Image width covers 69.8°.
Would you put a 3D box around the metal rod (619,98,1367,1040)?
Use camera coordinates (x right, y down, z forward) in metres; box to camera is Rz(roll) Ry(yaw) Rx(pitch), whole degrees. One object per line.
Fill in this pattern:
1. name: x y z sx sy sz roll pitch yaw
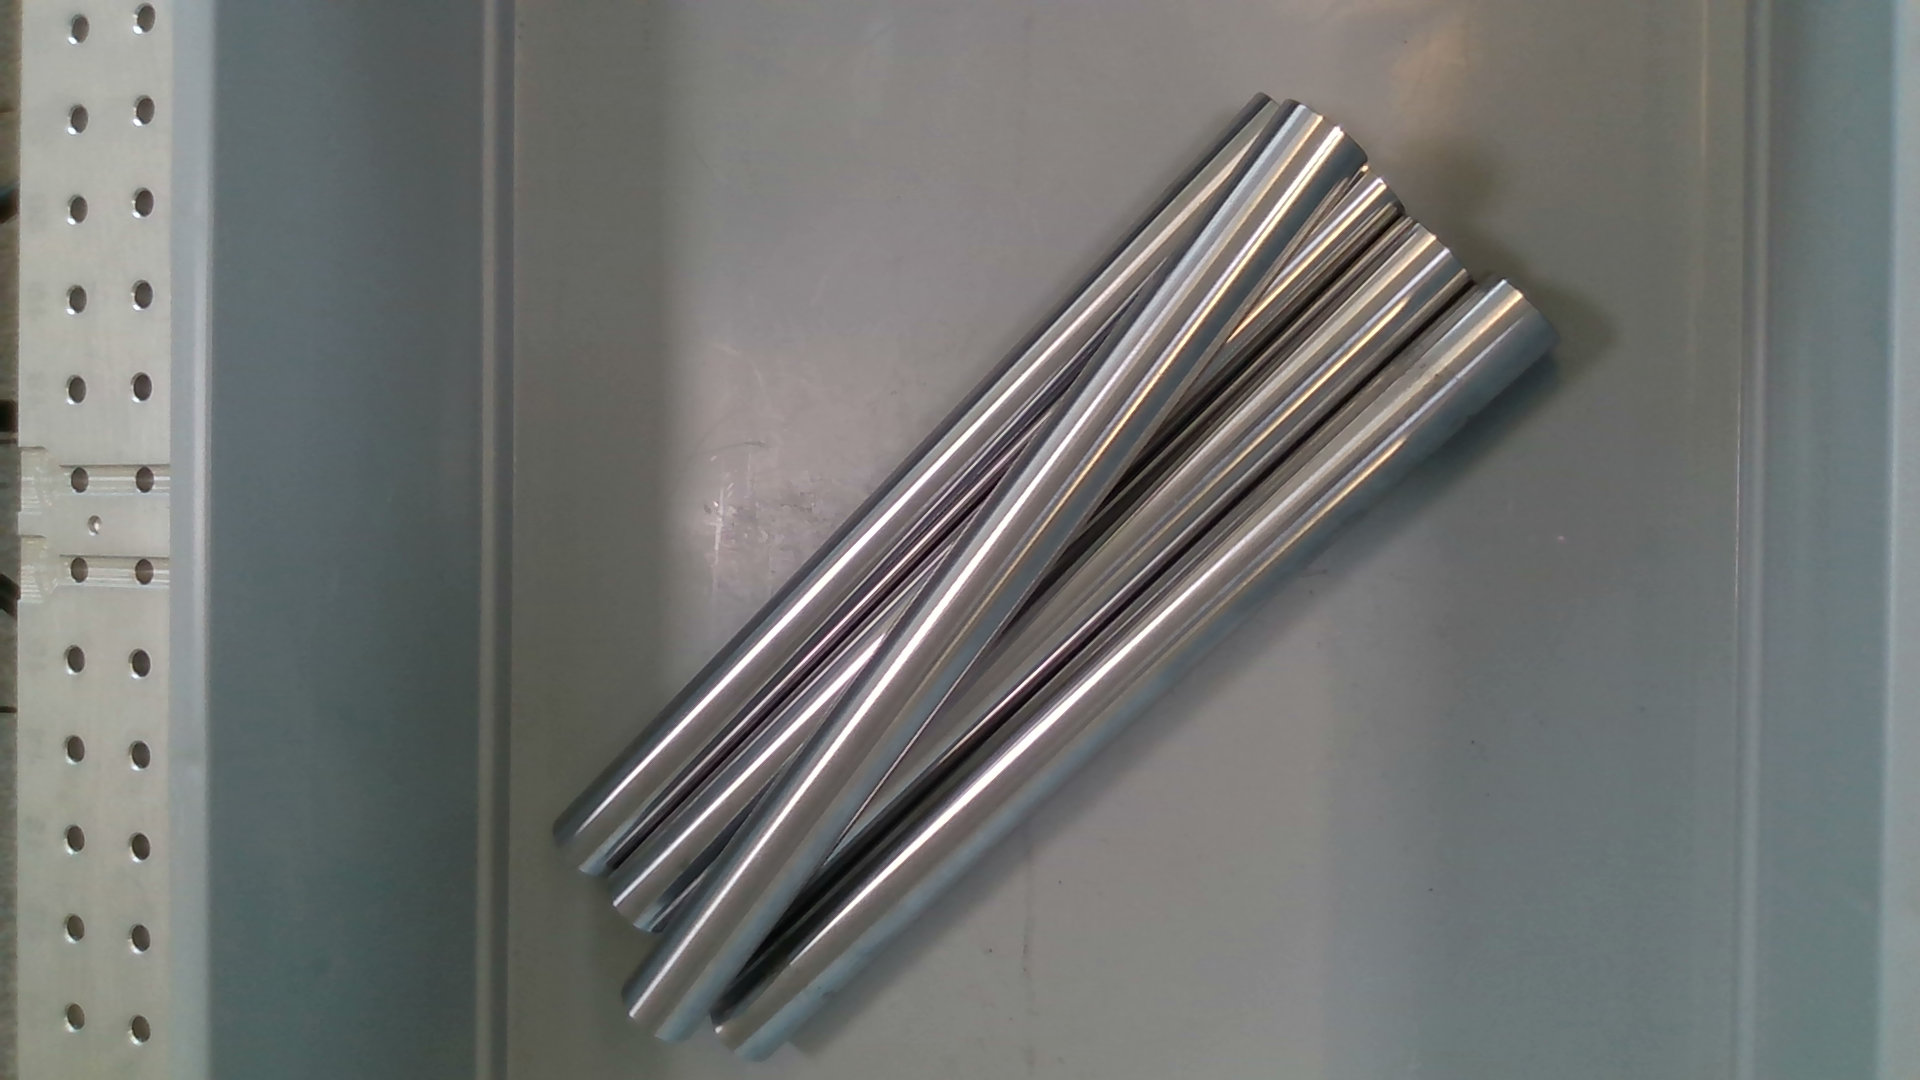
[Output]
1. metal rod: 0.000 0.018 0.366 0.025 0.025 0.300 41 103 15

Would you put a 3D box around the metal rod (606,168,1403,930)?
1. metal rod: 0.002 0.009 0.392 0.300 0.025 0.025 -45 76 15

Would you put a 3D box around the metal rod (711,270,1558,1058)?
1. metal rod: 0.036 0.044 0.380 0.300 0.025 0.025 -45 76 15

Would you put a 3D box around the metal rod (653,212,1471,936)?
1. metal rod: 0.017 0.028 0.387 0.300 0.025 0.025 -45 76 15

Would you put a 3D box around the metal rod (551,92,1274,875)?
1. metal rod: -0.016 -0.006 0.399 0.300 0.025 0.025 -45 76 15
